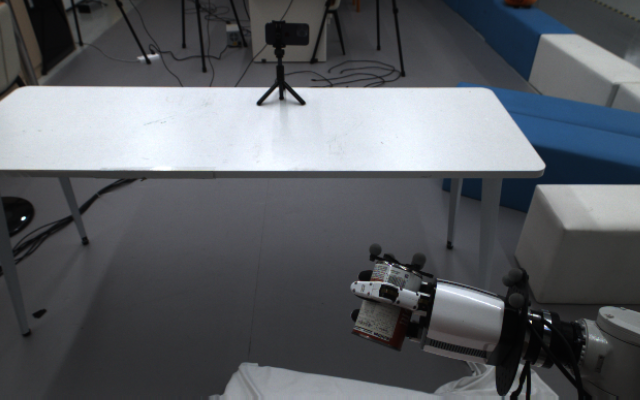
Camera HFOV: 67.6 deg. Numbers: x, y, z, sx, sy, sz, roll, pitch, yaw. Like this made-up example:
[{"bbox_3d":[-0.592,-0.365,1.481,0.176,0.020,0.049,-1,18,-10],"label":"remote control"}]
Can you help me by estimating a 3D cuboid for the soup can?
[{"bbox_3d":[0.092,0.139,0.639,0.067,0.067,0.101,15,75,18],"label":"soup can"}]
